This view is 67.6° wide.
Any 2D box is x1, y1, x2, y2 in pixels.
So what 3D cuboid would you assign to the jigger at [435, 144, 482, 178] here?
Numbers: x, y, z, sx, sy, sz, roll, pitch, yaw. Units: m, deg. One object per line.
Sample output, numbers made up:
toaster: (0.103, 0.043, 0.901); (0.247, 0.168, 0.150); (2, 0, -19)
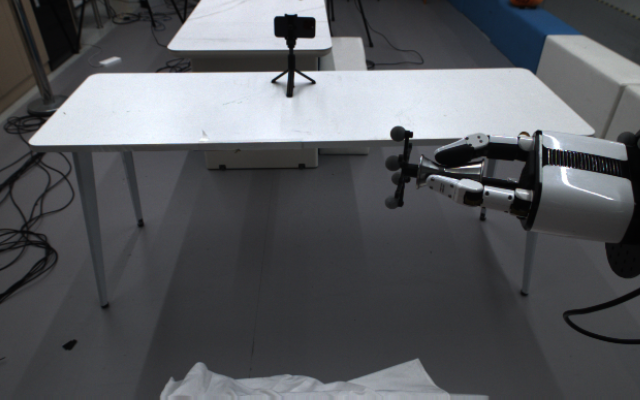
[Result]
jigger: (0.151, -0.031, 0.541); (0.071, 0.043, 0.043); (8, 35, 15)
